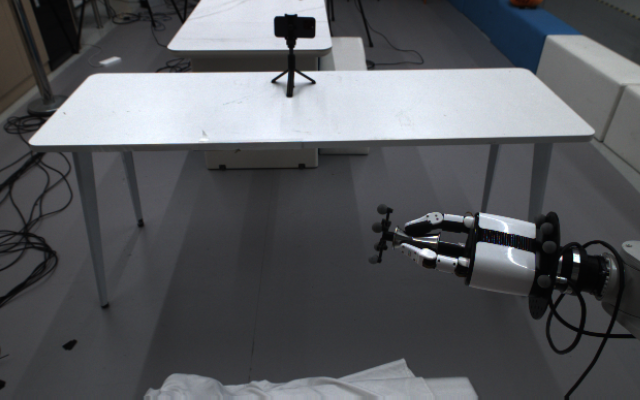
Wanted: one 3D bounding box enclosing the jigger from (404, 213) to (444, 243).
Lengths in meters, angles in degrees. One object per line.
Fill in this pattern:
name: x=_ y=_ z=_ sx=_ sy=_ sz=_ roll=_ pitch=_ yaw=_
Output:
jigger: x=0.156 y=0.061 z=0.754 sx=0.071 sy=0.043 sz=0.043 roll=11 pitch=36 yaw=16
